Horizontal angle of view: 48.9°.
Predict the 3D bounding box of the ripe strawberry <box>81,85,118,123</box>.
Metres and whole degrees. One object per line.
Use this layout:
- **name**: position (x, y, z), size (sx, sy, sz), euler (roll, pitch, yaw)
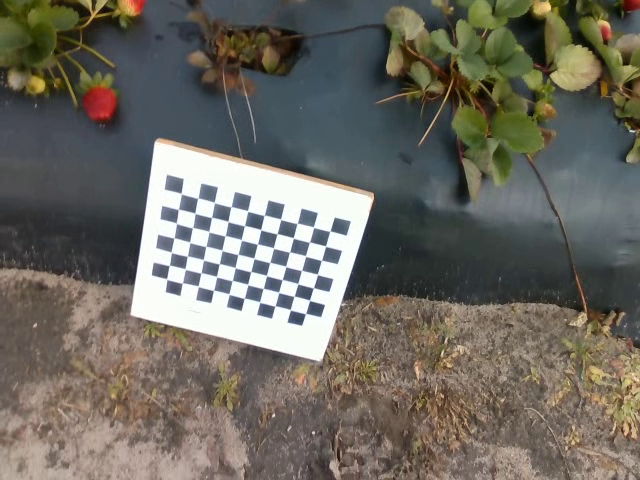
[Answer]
- **ripe strawberry**: position (-0.268, -0.177, 0.884), size (0.045, 0.055, 0.042), euler (-31, -46, 17)
